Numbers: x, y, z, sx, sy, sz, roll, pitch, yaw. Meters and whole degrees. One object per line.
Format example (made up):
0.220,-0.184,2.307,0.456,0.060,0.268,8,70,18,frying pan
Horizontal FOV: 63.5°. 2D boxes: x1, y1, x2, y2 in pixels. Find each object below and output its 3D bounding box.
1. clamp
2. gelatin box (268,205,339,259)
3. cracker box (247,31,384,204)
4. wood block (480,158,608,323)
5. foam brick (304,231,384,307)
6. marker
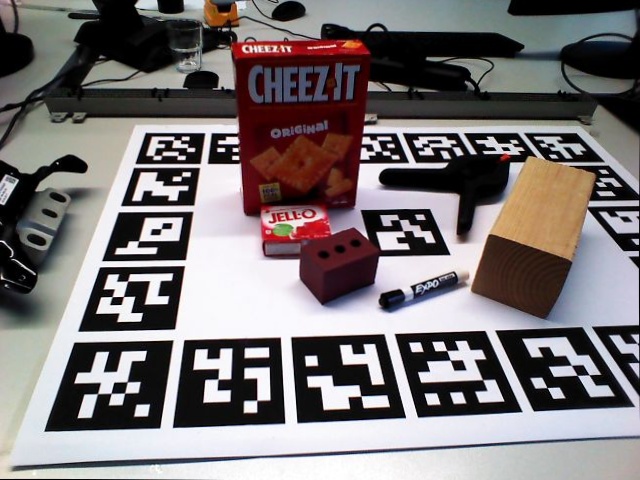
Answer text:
0.224,-0.090,0.755,0.202,0.037,0.165,-24,49,-27,clamp
-0.021,-0.012,0.662,0.089,0.030,0.073,-2,43,-6,gelatin box
-0.011,-0.152,0.672,0.164,0.214,0.071,-3,41,-9,cracker box
0.276,-0.009,0.632,0.090,0.091,0.204,21,42,23,wood block
0.027,0.031,0.595,0.078,0.051,0.053,-19,48,-23,foam brick
0.118,0.060,0.590,0.121,0.020,0.019,-15,46,-19,marker
